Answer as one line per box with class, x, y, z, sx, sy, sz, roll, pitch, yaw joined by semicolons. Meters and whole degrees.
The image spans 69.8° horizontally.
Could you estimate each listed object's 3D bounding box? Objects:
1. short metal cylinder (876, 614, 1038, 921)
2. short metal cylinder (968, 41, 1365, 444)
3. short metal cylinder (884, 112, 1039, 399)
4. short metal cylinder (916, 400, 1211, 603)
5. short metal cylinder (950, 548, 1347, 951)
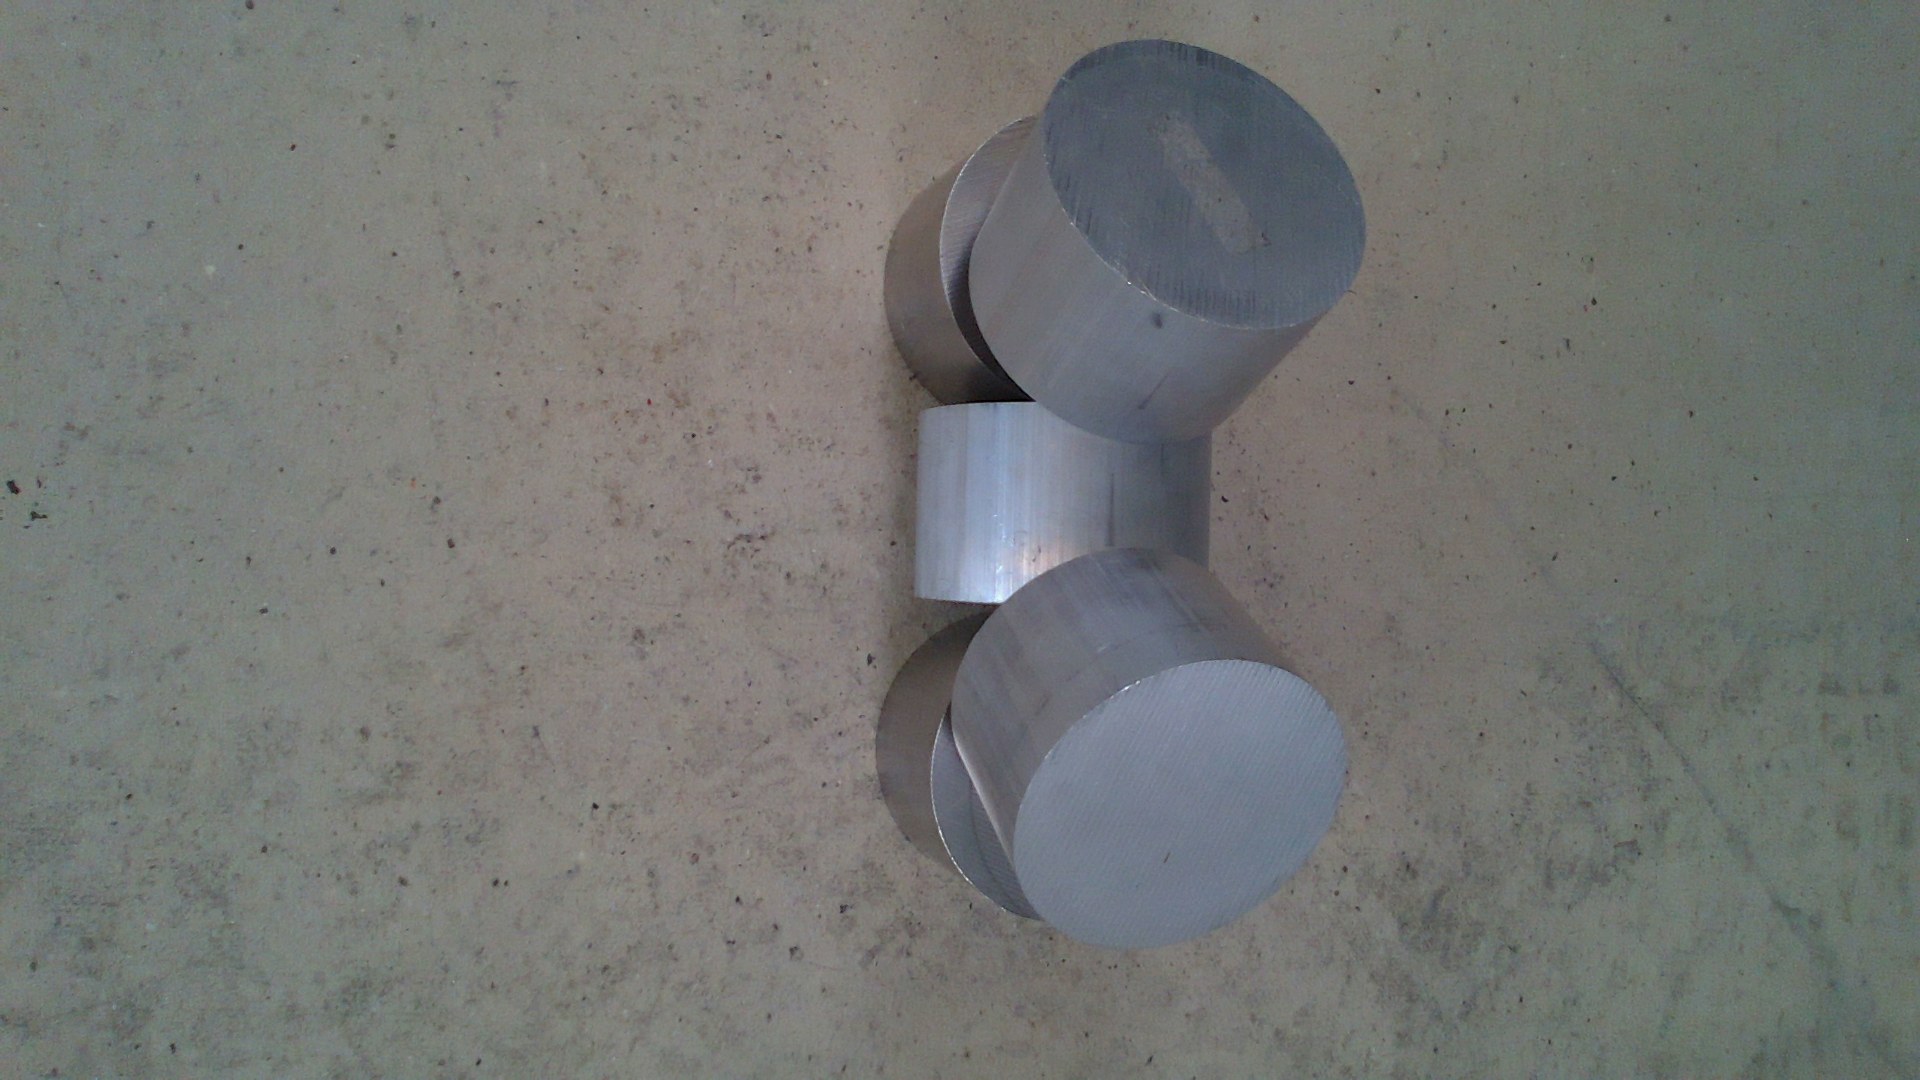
short metal cylinder;0.021;0.061;0.388;0.080;0.050;0.080;0;90;-20
short metal cylinder;0.048;-0.070;0.329;0.080;0.050;0.080;9;62;-17
short metal cylinder;0.024;-0.074;0.389;0.080;0.050;0.080;0;90;-20
short metal cylinder;0.028;-0.009;0.375;0.080;0.080;0.050;2;90;-20
short metal cylinder;0.043;0.049;0.326;0.080;0.050;0.080;-8;120;-14
